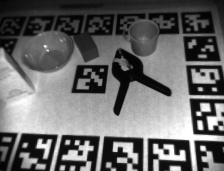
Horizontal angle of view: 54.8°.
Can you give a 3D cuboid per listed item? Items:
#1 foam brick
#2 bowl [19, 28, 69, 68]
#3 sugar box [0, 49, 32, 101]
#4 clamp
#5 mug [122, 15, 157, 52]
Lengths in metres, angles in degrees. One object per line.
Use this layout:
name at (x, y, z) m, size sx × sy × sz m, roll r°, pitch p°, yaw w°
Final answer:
foam brick at (-0.090, -0.131, 0.696) m, size 0.053 × 0.052 × 0.077 m, roll -24°, pitch 64°, yaw -5°
bowl at (-0.209, -0.111, 0.689) m, size 0.161 × 0.055 × 0.161 m, roll -2°, pitch 63°, yaw 4°
sugar box at (-0.299, -0.022, 0.584) m, size 0.093 × 0.177 × 0.045 m, roll -22°, pitch 64°, yaw -6°
clamp at (0.038, -0.041, 0.631) m, size 0.165 × 0.037 × 0.201 m, roll -21°, pitch 64°, yaw -2°
mug at (0.077, -0.163, 0.669) m, size 0.116 × 0.082 × 0.093 m, roll 26°, pitch 68°, yaw 15°
